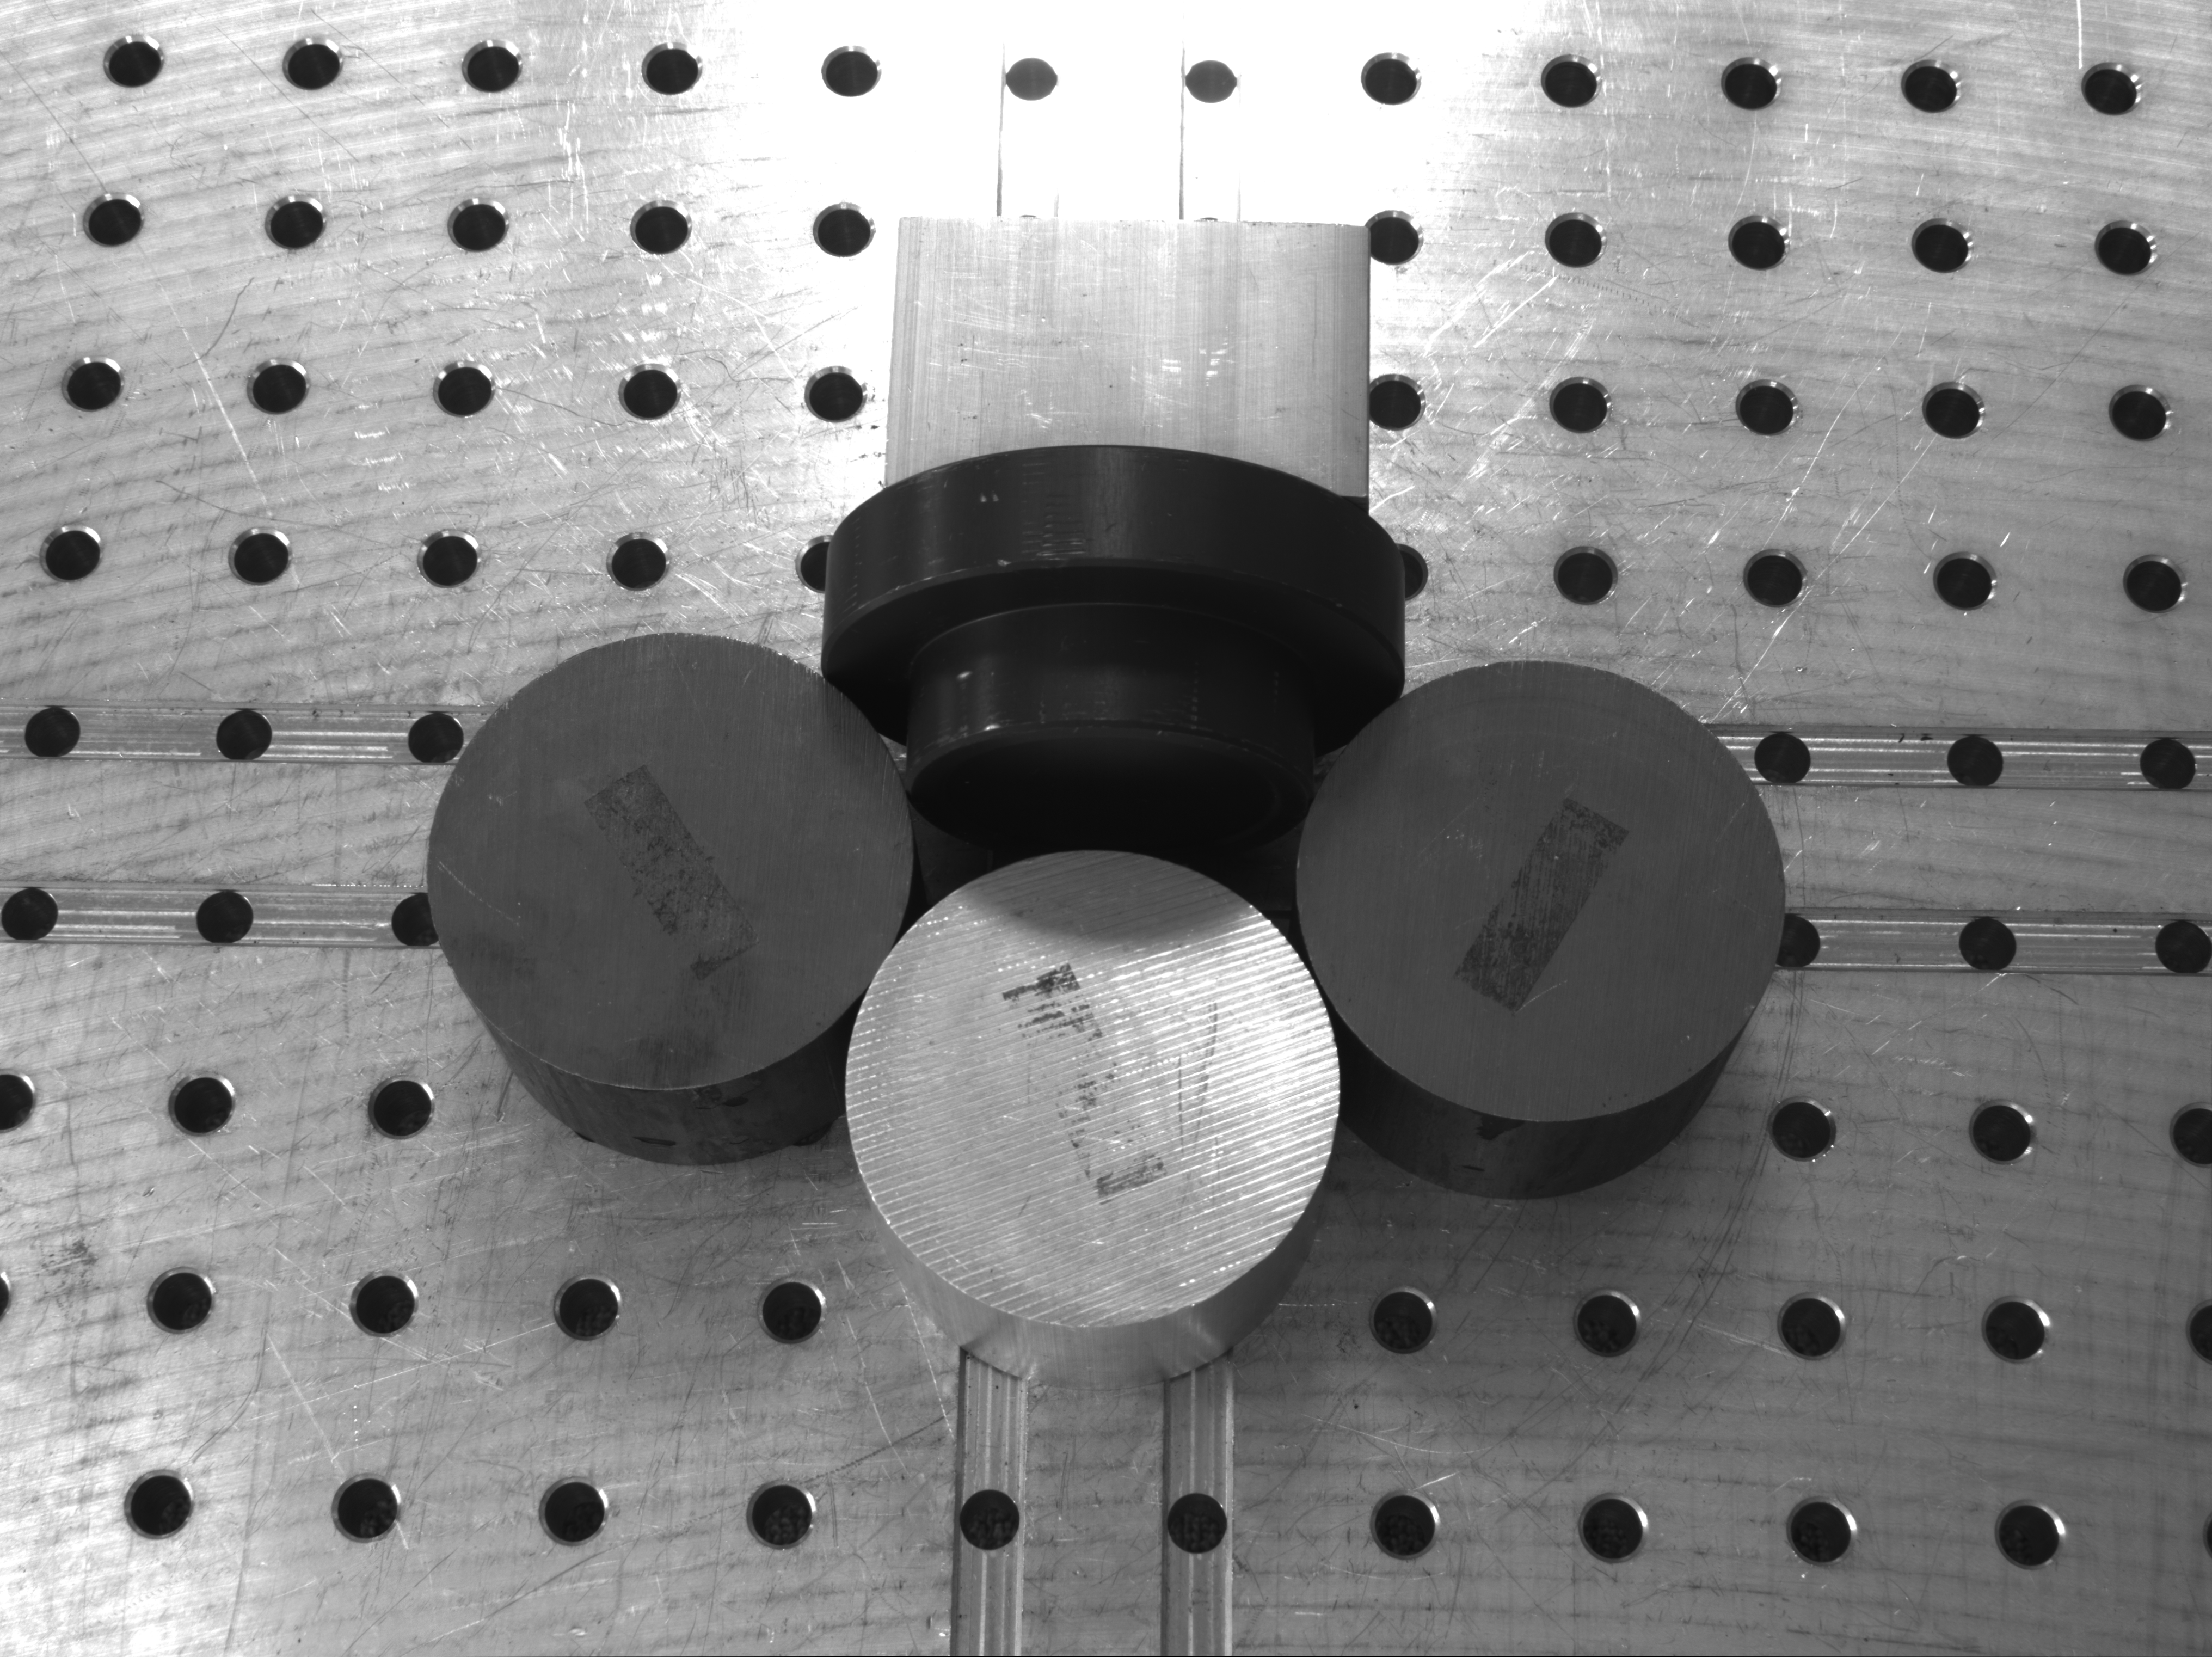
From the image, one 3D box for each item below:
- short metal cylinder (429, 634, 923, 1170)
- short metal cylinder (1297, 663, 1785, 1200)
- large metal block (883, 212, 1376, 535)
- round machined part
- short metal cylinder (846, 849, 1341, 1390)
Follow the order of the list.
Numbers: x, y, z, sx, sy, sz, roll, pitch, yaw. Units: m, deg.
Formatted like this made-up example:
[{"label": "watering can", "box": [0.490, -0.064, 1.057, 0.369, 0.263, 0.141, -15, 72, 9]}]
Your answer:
[{"label": "short metal cylinder", "box": [-0.072, 0.013, 0.630, 0.080, 0.050, 0.080, 0, 70, 0]}, {"label": "short metal cylinder", "box": [0.072, 0.018, 0.628, 0.080, 0.050, 0.080, 0, 70, 0]}, {"label": "large metal block", "box": [0.004, -0.065, 0.642, 0.080, 0.080, 0.050, 1, 70, 0]}, {"label": "round machined part", "box": [0.001, -0.024, 0.616, 0.098, 0.098, 0.042, 2, 69, 1]}, {"label": "short metal cylinder", "box": [-0.002, 0.050, 0.617, 0.080, 0.050, 0.080, 0, 70, 0]}]
